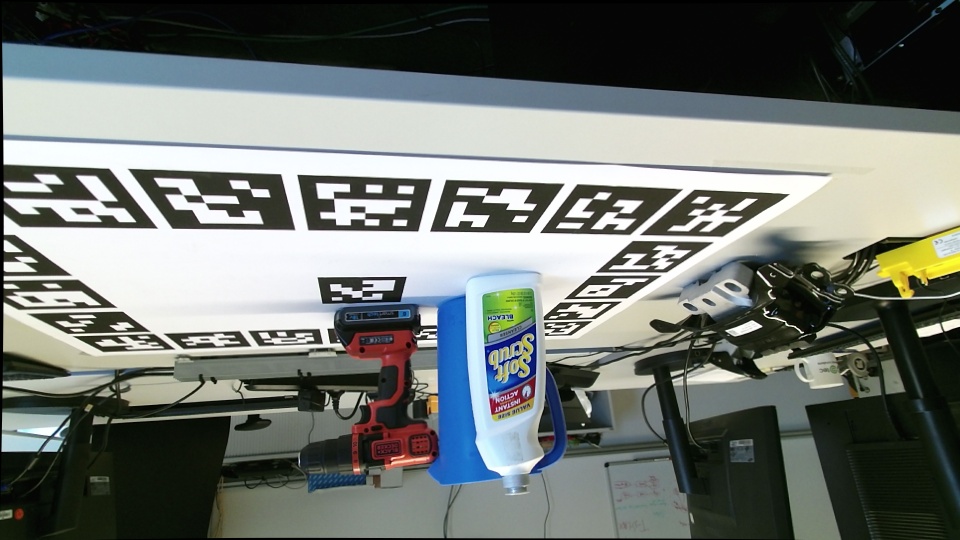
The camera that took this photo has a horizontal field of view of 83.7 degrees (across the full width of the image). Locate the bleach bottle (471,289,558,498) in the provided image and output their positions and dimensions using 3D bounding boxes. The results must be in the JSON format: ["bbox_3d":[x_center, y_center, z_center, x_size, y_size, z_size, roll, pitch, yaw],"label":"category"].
[{"bbox_3d":[0.050,0.150,0.630,0.103,0.249,0.068,-5,156,-6],"label":"bleach bottle"}]

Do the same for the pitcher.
[{"bbox_3d":[0.018,0.174,0.727,0.189,0.241,0.133,-13,155,12],"label":"pitcher"}]

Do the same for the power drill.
[{"bbox_3d":[-0.151,0.177,0.711,0.185,0.186,0.057,1,153,-5],"label":"power drill"}]
